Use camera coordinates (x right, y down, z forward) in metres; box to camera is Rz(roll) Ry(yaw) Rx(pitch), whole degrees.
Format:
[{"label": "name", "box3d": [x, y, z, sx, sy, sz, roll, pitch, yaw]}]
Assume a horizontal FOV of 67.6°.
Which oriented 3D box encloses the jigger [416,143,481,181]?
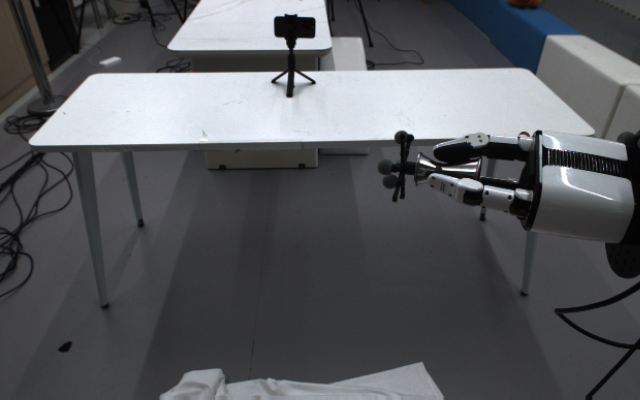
[{"label": "jigger", "box3d": [0.151, -0.037, 0.546, 0.071, 0.043, 0.043, 7, 34, 21]}]
